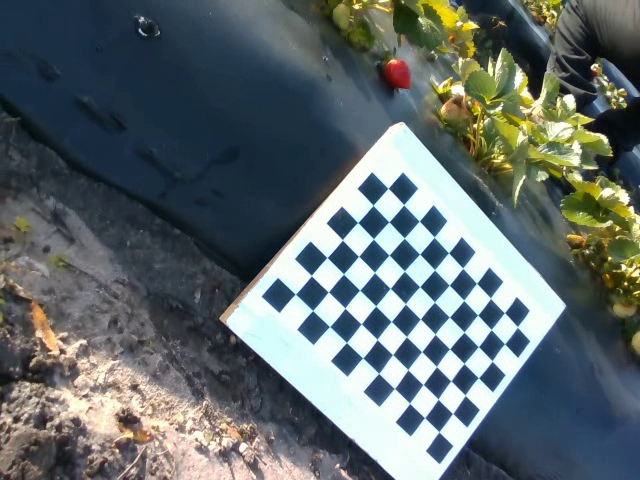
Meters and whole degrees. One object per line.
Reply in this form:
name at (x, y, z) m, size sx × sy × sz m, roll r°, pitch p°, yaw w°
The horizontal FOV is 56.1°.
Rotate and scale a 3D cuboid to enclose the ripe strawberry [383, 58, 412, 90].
ripe strawberry at (0.086, -0.175, 0.636) m, size 0.030 × 0.045 × 0.033 m, roll -19°, pitch -25°, yaw -14°
